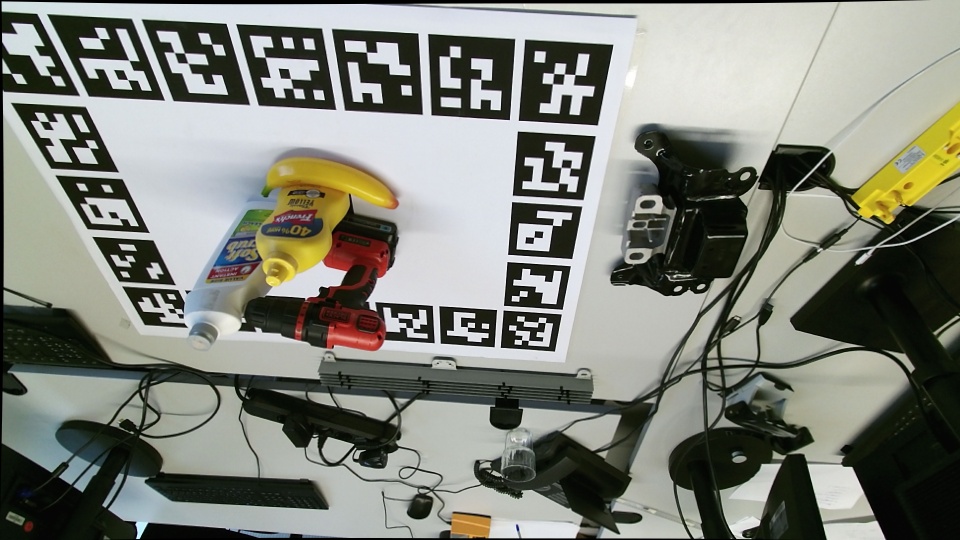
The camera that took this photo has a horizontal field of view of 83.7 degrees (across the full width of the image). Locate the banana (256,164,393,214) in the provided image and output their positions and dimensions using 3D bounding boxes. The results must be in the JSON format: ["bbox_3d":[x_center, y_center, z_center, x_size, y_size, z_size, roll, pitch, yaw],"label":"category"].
[{"bbox_3d":[-0.224,-0.114,0.767,0.198,0.038,0.074,6,129,-3],"label":"banana"}]

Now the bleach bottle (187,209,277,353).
[{"bbox_3d":[-0.323,0.018,0.742,0.103,0.249,0.068,5,135,0],"label":"bleach bottle"}]

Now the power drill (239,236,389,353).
[{"bbox_3d":[-0.212,0.031,0.750,0.185,0.186,0.057,13,130,-5],"label":"power drill"}]

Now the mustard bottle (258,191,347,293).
[{"bbox_3d":[-0.250,-0.038,0.721,0.096,0.190,0.058,4,130,2],"label":"mustard bottle"}]
